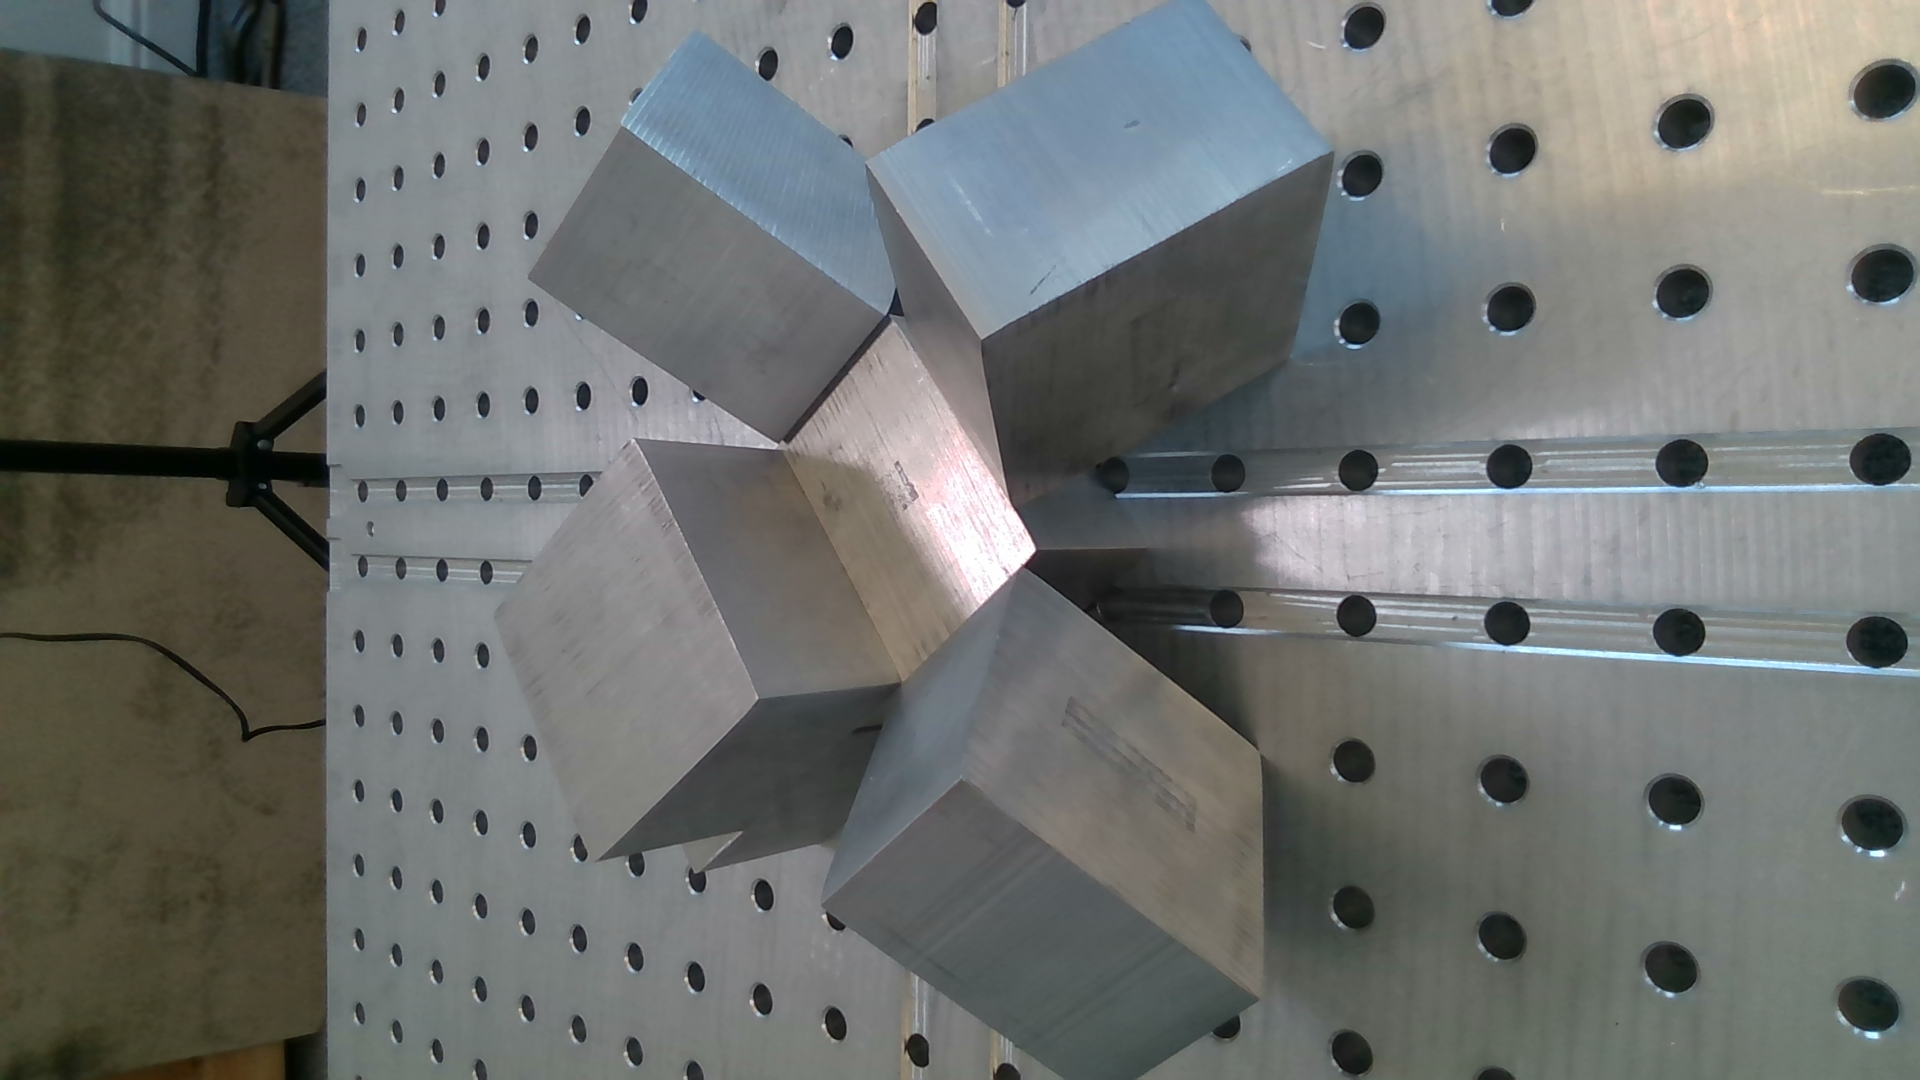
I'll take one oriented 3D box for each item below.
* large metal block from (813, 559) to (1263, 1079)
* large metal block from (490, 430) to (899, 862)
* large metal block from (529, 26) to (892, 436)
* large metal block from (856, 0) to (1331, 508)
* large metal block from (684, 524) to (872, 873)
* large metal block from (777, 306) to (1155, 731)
[{"bbox_3d":[0.023,0.064,0.319,0.080,0.080,0.050,38,121,-11],"label":"large metal block"},{"bbox_3d":[-0.074,0.028,0.373,0.080,0.050,0.080,-45,64,32],"label":"large metal block"},{"bbox_3d":[-0.062,-0.089,0.389,0.050,0.080,0.080,-45,21,30],"label":"large metal block"},{"bbox_3d":[0.030,-0.062,0.311,0.080,0.080,0.050,-28,67,-5],"label":"large metal block"},{"bbox_3d":[-0.058,0.043,0.425,0.080,0.050,0.080,-44,65,30],"label":"large metal block"},{"bbox_3d":[-0.007,-0.005,0.383,0.080,0.050,0.080,-46,63,31],"label":"large metal block"}]
